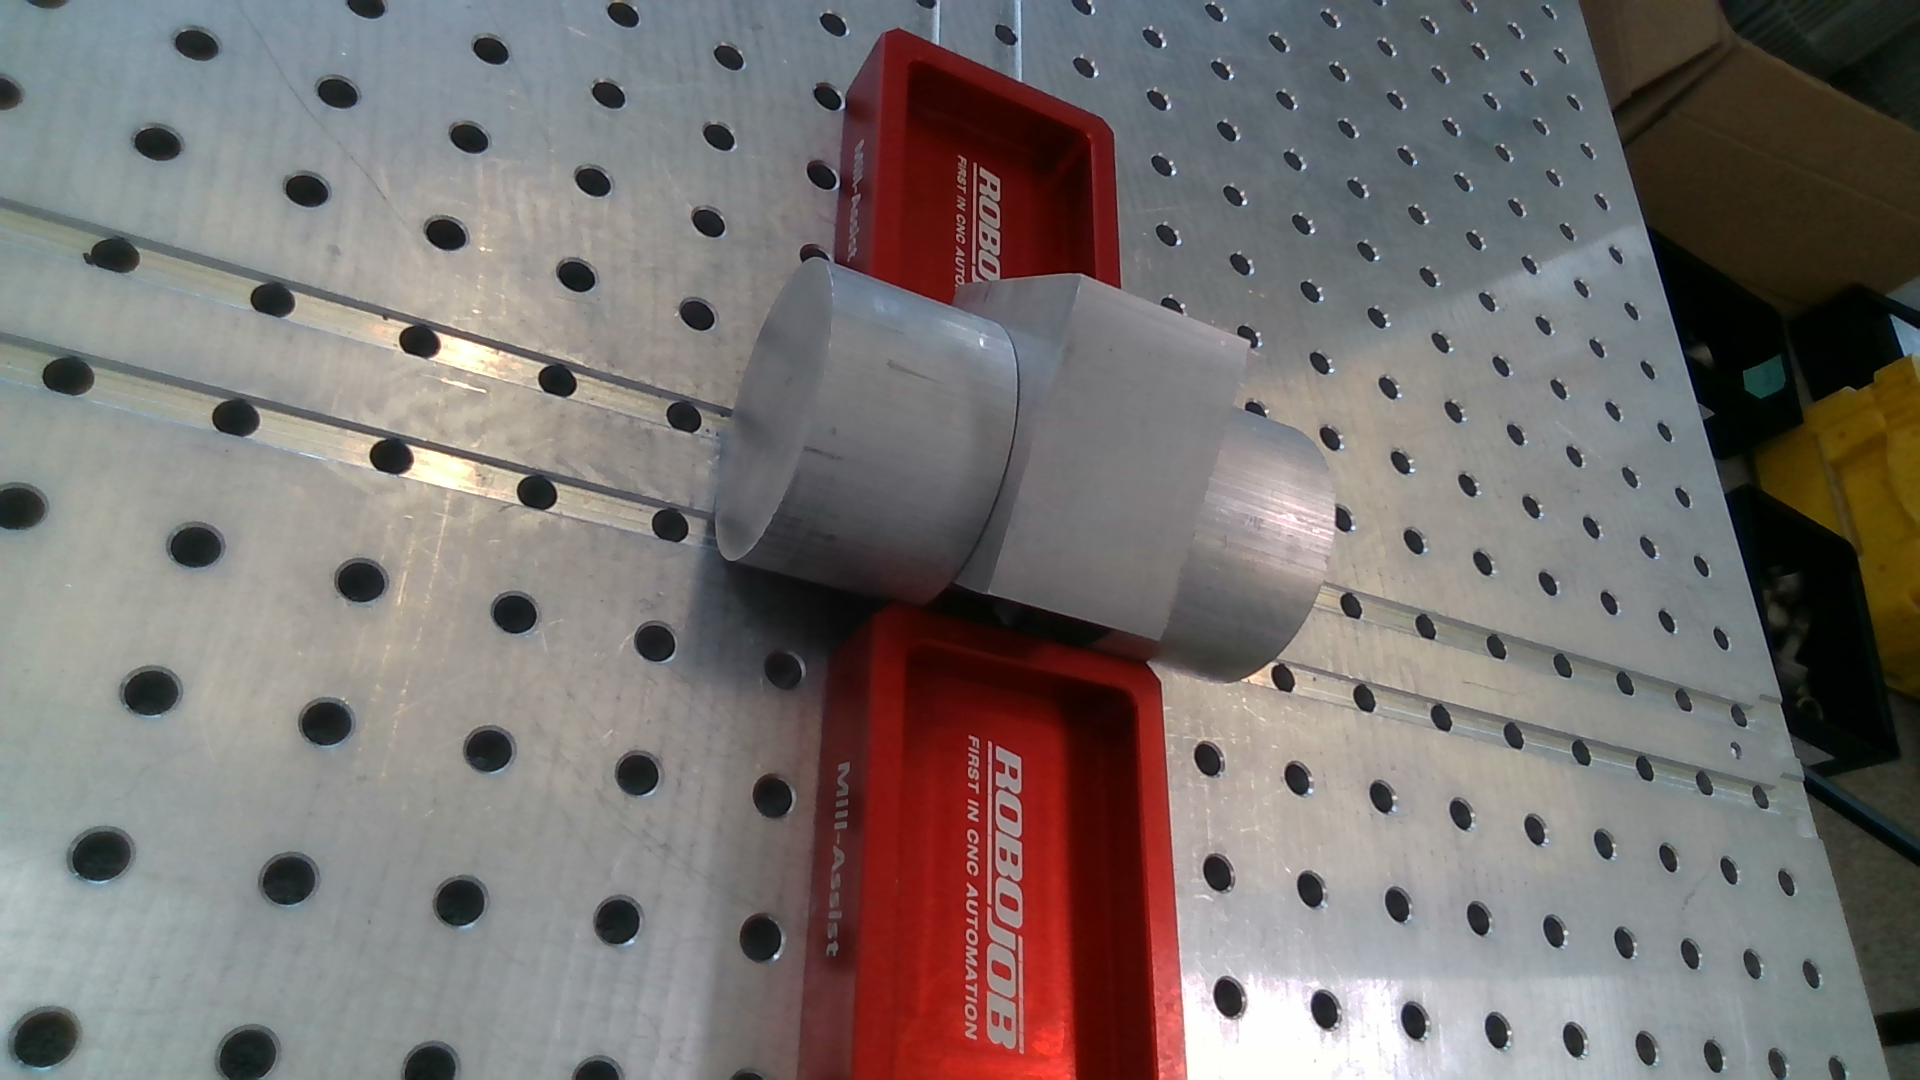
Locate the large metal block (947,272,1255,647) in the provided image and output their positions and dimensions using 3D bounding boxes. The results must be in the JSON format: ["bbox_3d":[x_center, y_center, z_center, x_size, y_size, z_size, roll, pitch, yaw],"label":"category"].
[{"bbox_3d":[0.024,-0.024,0.370,0.050,0.080,0.080,17,92,-24],"label":"large metal block"}]

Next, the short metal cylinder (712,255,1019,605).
[{"bbox_3d":[-0.027,-0.027,0.359,0.050,0.080,0.080,16,58,-24],"label":"short metal cylinder"}]

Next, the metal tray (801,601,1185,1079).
[{"bbox_3d":[0.010,0.088,0.352,0.090,0.030,0.130,15,58,-24],"label":"metal tray"}]

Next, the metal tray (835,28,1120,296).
[{"bbox_3d":[0.007,-0.095,0.448,0.090,0.030,0.130,15,58,-24],"label":"metal tray"}]

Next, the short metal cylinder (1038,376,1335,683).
[{"bbox_3d":[0.062,-0.003,0.400,0.050,0.080,0.080,15,58,-24],"label":"short metal cylinder"}]
